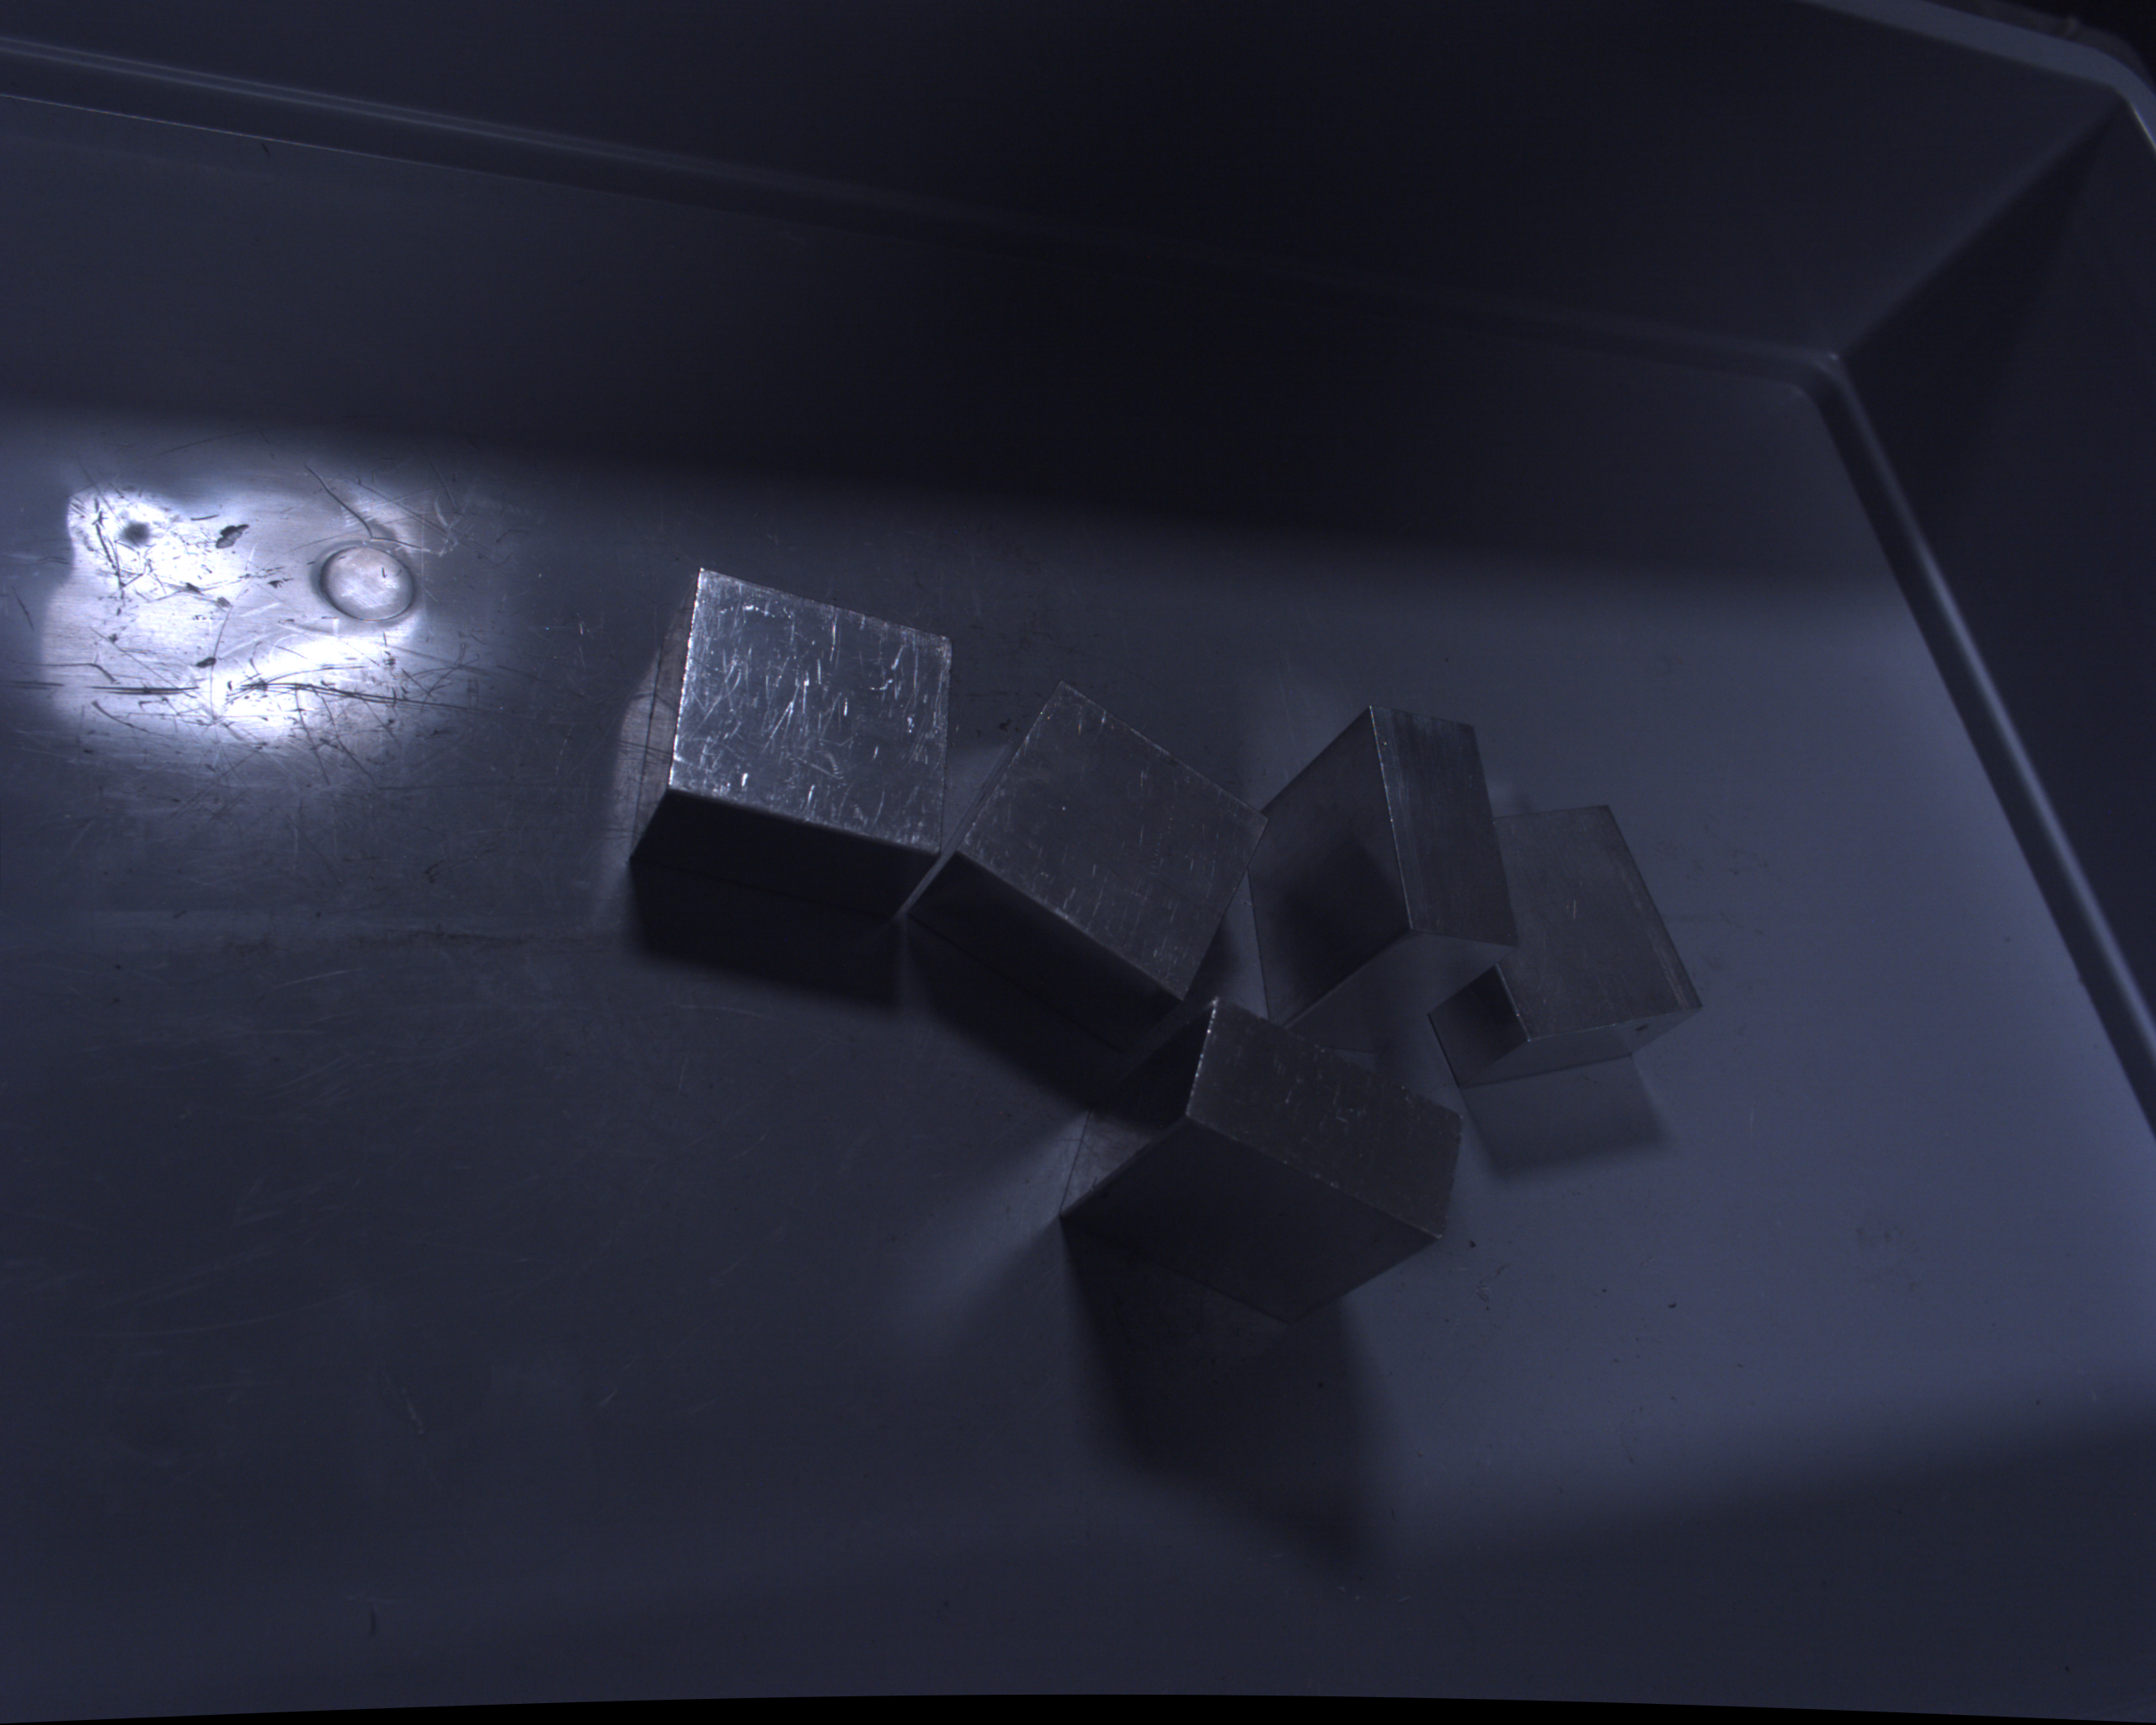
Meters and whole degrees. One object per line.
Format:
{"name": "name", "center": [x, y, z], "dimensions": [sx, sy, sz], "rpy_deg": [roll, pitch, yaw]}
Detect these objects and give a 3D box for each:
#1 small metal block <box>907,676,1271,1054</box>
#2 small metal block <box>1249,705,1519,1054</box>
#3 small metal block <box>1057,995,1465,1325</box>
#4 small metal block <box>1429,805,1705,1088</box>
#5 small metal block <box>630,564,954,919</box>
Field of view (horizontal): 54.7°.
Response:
{"name": "small metal block", "center": [0.003, 0.000, 0.405], "dimensions": [0.050, 0.025, 0.050], "rpy_deg": [34, 51, -7]}
{"name": "small metal block", "center": [0.059, 0.004, 0.418], "dimensions": [0.025, 0.050, 0.050], "rpy_deg": [10, 58, -24]}
{"name": "small metal block", "center": [0.032, 0.054, 0.372], "dimensions": [0.050, 0.050, 0.025], "rpy_deg": [27, 53, -12]}
{"name": "small metal block", "center": [0.098, 0.017, 0.447], "dimensions": [0.050, 0.025, 0.050], "rpy_deg": [-6, 65, -31]}
{"name": "small metal block", "center": [-0.052, -0.022, 0.389], "dimensions": [0.050, 0.025, 0.050], "rpy_deg": [14, 56, -21]}
